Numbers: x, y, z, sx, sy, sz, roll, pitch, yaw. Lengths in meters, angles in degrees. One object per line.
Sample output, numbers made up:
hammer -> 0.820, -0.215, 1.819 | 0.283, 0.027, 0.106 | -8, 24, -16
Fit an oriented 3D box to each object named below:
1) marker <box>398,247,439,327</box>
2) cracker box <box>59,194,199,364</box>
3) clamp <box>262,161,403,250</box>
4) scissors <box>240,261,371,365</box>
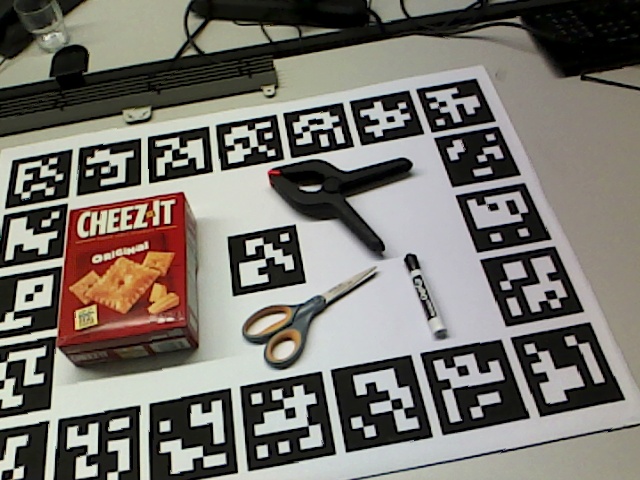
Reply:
marker -> 0.129, 0.059, 0.821 | 0.019, 0.019, 0.121 | -14, 54, -3
cracker box -> -0.256, 0.047, 0.846 | 0.164, 0.072, 0.214 | -10, 54, 0
clamp -> 0.006, -0.075, 0.936 | 0.203, 0.036, 0.165 | 14, 57, 16
scissors -> -0.012, 0.082, 0.822 | 0.202, 0.016, 0.088 | -35, 57, -19
